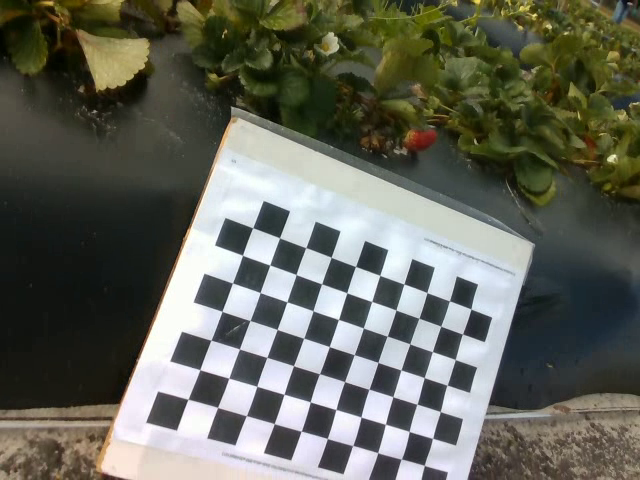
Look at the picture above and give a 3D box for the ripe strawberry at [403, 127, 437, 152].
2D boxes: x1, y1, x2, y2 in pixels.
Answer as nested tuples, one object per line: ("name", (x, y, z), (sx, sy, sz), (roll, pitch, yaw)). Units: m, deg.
("ripe strawberry", (0.071, -0.076, 0.407), (0.027, 0.022, 0.021), (-6, 9, -8))
